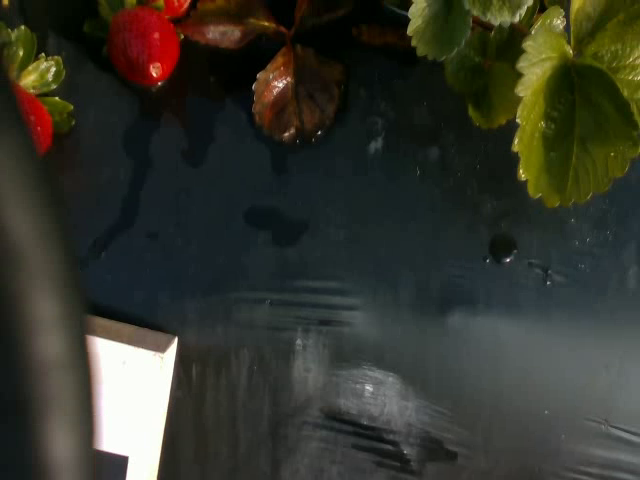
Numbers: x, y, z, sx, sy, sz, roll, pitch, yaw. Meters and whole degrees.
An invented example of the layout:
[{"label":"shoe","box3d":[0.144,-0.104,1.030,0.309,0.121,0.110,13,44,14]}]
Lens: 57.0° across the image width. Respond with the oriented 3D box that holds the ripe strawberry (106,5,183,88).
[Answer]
[{"label":"ripe strawberry","box3d":[-0.094,-0.098,0.316,0.041,0.045,0.055,25,23,-41]}]
